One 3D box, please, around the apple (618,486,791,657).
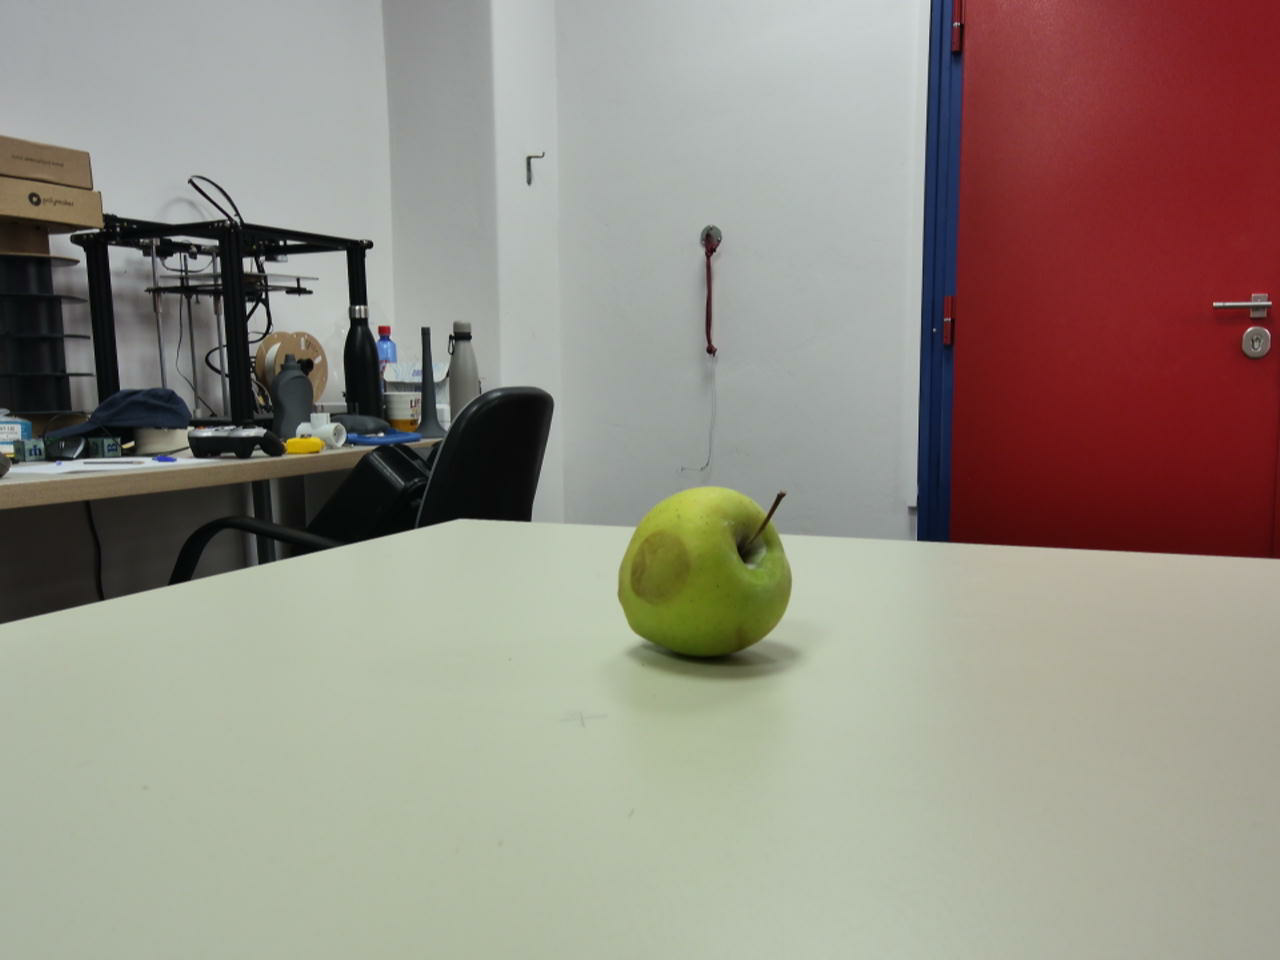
[{"bbox_3d":[0.030,0.040,0.451,0.072,0.075,0.077,-2,4,-21],"label":"apple"}]
